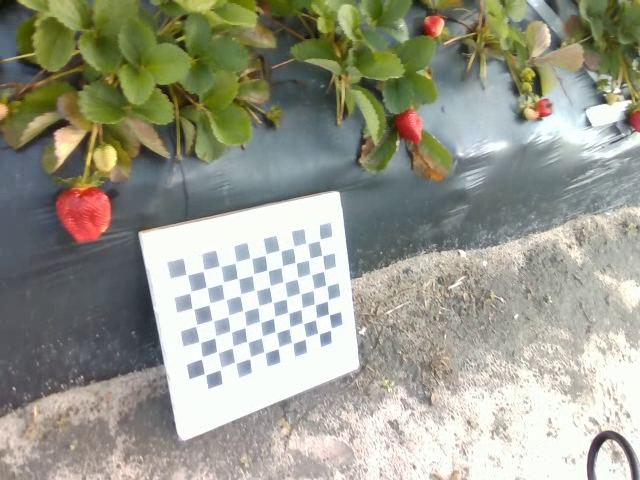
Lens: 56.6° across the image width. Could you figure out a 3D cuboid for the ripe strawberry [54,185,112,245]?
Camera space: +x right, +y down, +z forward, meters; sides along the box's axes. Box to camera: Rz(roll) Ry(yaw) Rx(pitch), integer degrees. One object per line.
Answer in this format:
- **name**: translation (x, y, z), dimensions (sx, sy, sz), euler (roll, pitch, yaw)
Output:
- **ripe strawberry**: translation (-0.294, -0.032, 0.741), dimensions (0.067, 0.075, 0.039), euler (-10, 9, -28)
